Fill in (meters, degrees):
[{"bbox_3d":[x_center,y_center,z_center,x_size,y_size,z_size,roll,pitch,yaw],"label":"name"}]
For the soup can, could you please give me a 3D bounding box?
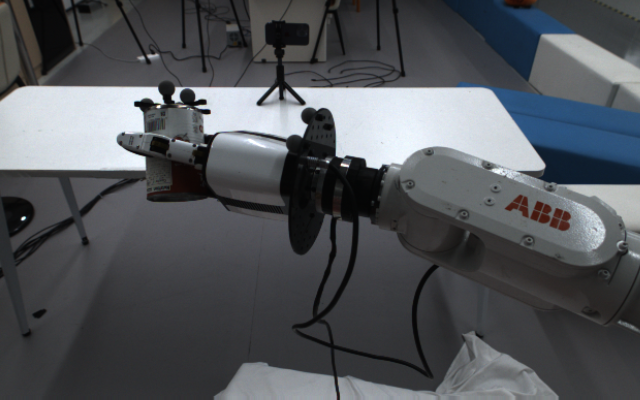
[{"bbox_3d":[-0.164,-0.050,0.556,0.067,0.101,0.067,-5,-5,0],"label":"soup can"}]
